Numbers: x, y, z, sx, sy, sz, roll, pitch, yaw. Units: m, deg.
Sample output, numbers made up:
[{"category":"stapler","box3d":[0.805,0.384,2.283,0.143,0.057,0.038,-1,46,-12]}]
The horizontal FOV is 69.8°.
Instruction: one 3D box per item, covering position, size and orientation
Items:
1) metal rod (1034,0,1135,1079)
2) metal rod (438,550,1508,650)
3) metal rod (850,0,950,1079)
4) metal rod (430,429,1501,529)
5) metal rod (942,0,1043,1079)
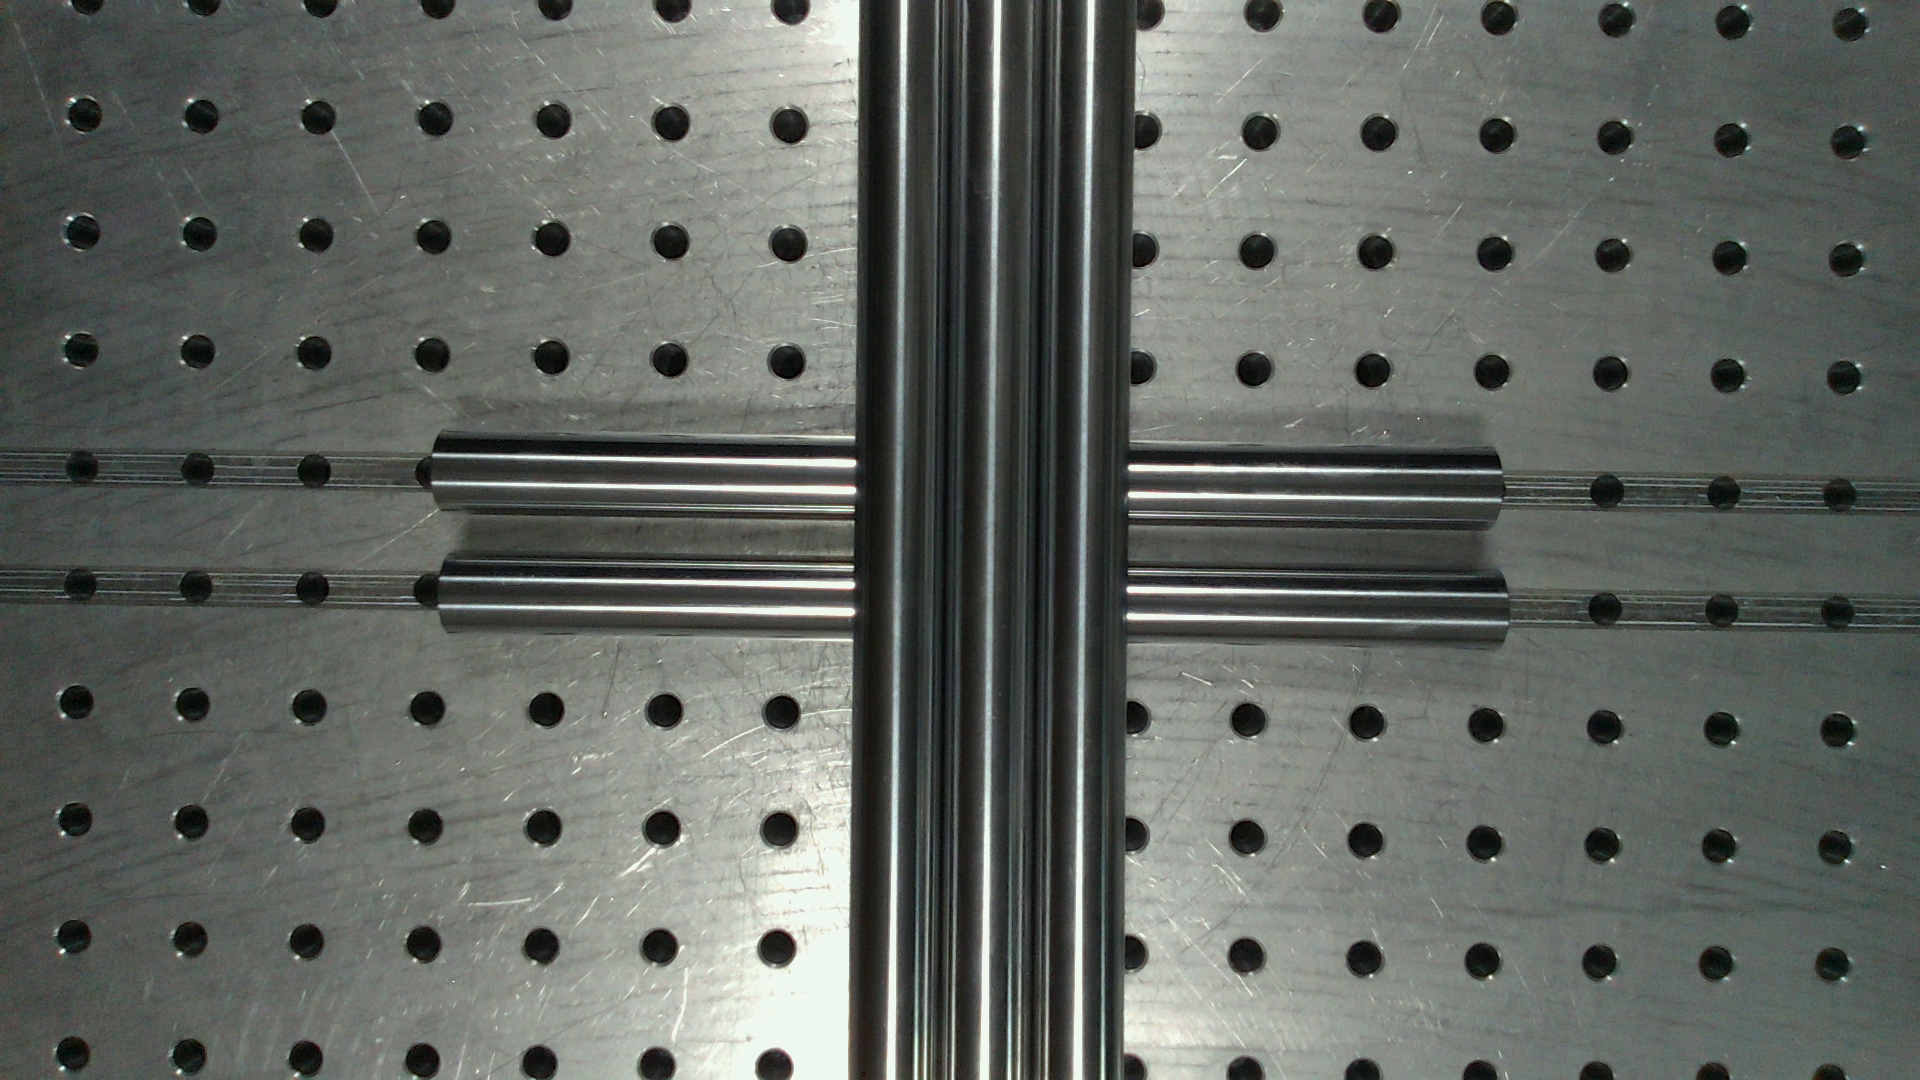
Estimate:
[{"category":"metal rod","box3d":[0.034,0.000,0.373,0.025,0.025,0.300,0,90,0]},{"category":"metal rod","box3d":[0.004,0.017,0.398,0.300,0.025,0.025,1,90,0]},{"category":"metal rod","box3d":[-0.016,0.002,0.373,0.025,0.025,0.300,0,90,0]},{"category":"metal rod","box3d":[0.002,-0.018,0.398,0.300,0.025,0.025,1,90,0]},{"category":"metal rod","box3d":[0.009,0.001,0.373,0.025,0.025,0.300,0,90,0]}]
